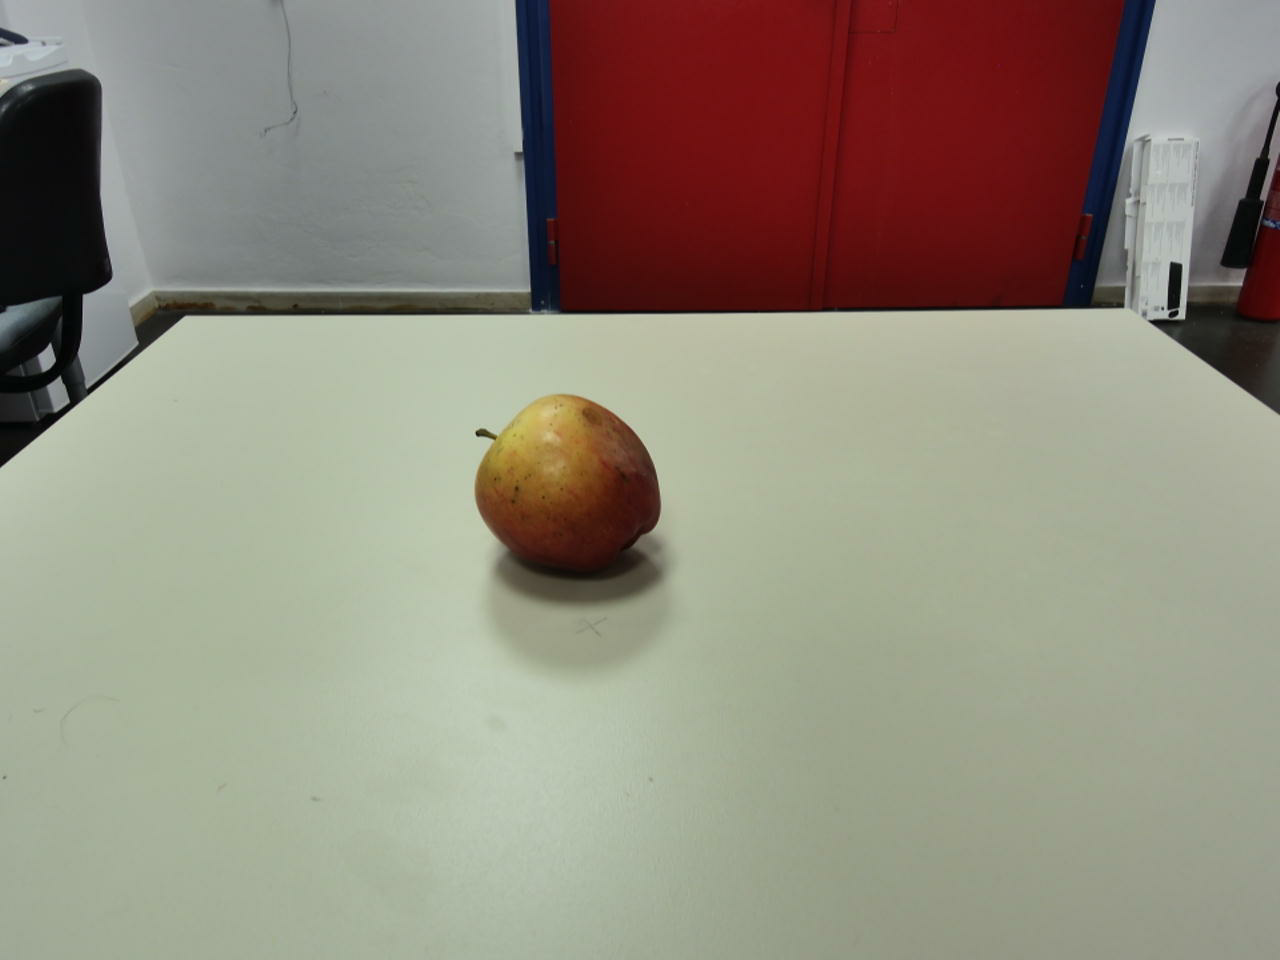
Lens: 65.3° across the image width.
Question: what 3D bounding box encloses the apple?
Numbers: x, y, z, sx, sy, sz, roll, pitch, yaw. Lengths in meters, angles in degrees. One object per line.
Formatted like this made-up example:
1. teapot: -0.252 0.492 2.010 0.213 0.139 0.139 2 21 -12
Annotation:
1. apple: -0.038 0.001 0.494 0.086 0.084 0.093 -17 31 -32
